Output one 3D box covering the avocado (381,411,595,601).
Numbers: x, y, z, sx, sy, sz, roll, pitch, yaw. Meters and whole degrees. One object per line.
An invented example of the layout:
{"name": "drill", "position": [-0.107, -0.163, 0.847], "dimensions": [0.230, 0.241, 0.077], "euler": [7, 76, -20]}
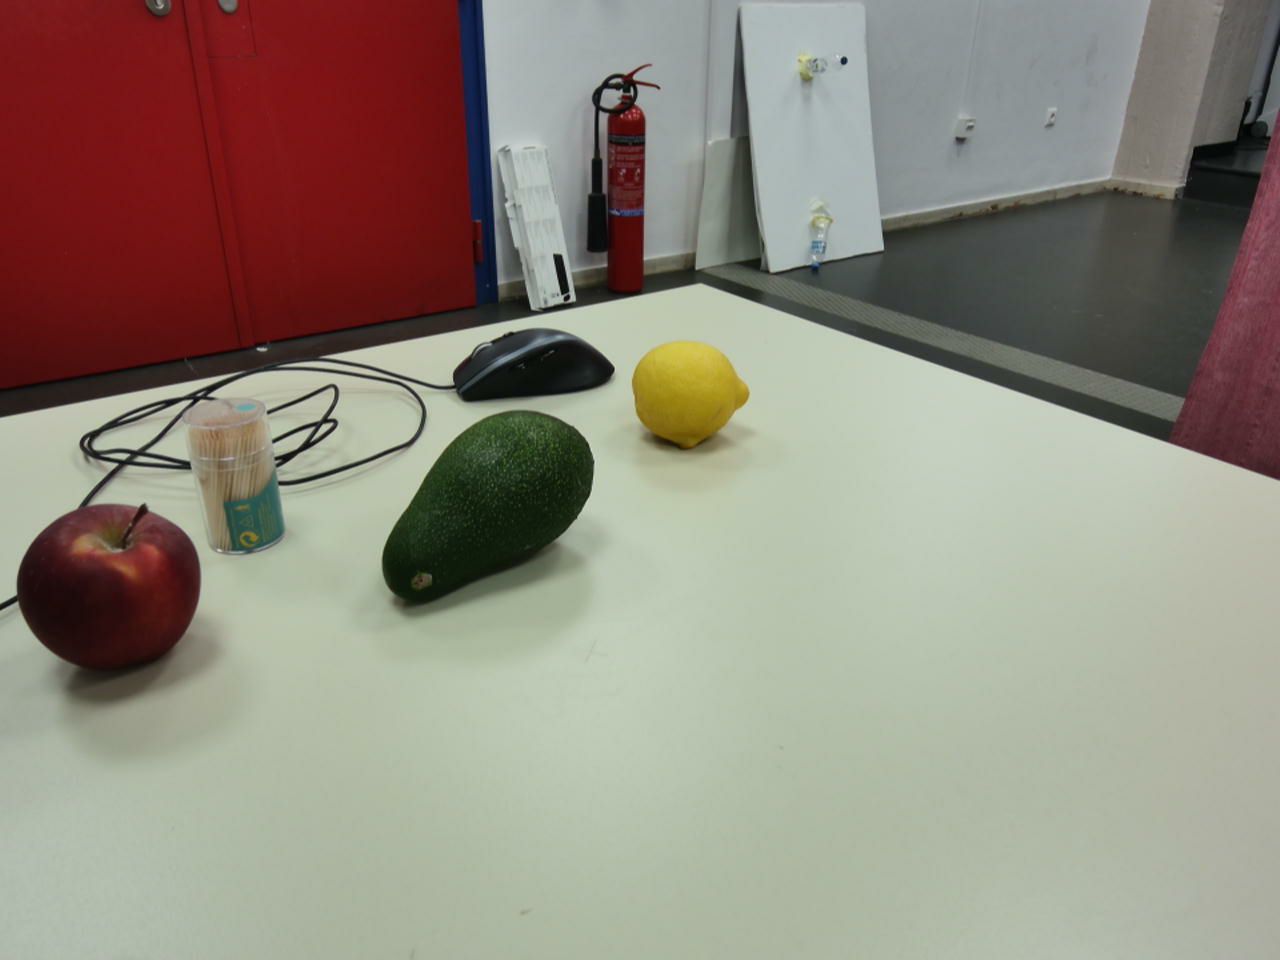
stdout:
{"name": "avocado", "position": [-0.079, 0.007, 0.506], "dimensions": [0.123, 0.076, 0.074], "euler": [-14, 29, -29]}
